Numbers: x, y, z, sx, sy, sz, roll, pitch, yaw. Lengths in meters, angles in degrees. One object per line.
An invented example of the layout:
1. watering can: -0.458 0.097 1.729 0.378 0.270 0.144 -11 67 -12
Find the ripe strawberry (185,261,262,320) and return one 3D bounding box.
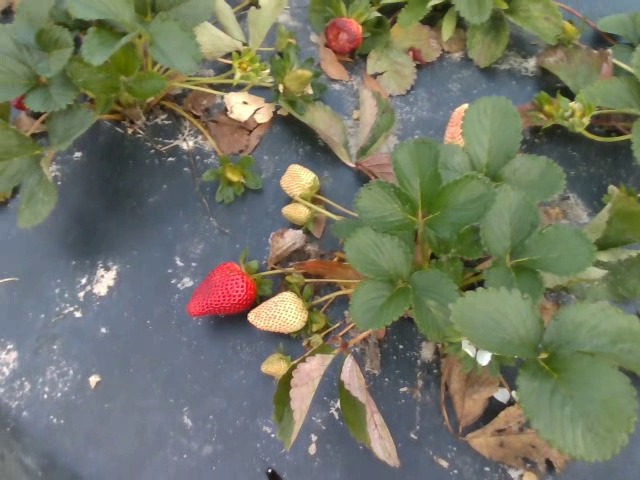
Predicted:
1. ripe strawberry: -0.074 0.040 0.449 0.059 0.050 0.034 -37 -22 -29
